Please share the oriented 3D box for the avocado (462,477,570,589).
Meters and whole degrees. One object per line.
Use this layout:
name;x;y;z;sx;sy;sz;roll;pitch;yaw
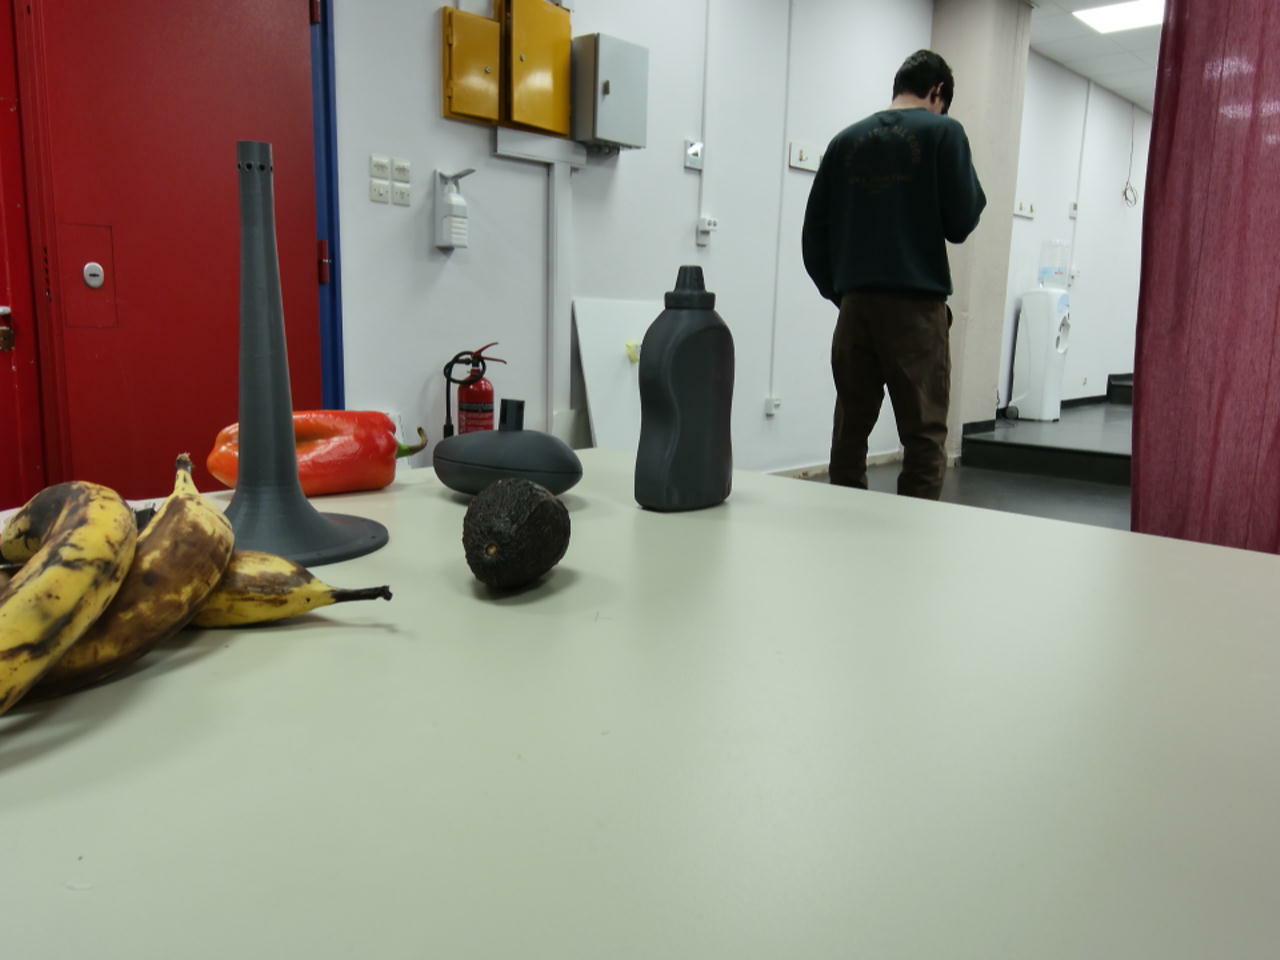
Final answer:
avocado;-0.075;0.031;0.587;0.062;0.062;0.092;4;9;19
